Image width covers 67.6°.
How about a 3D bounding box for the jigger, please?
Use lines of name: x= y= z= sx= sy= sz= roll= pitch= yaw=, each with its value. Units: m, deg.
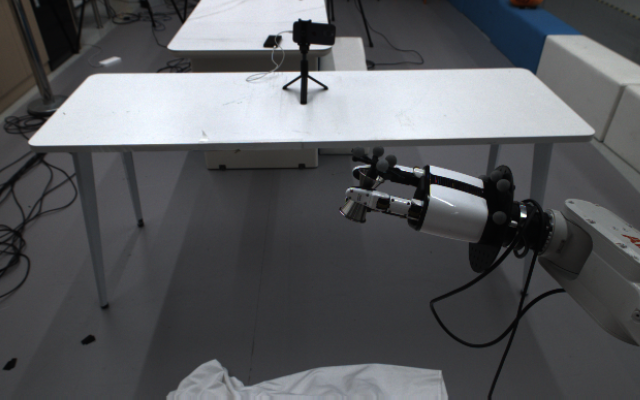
jigger: x=0.059 y=-0.008 z=0.699 sx=0.043 sy=0.071 sz=0.043 roll=23 pitch=19 yaw=-8
